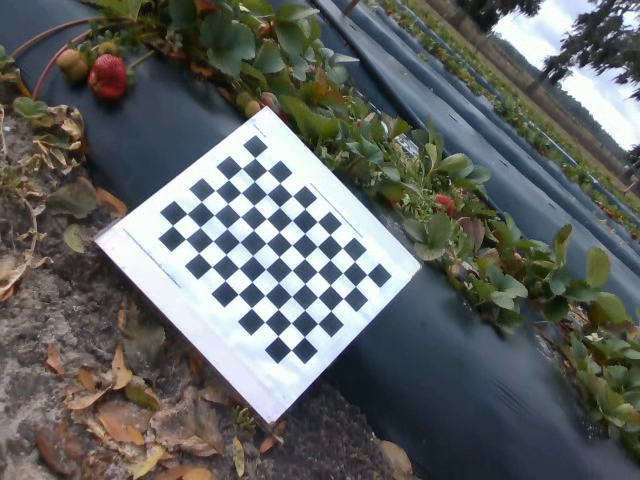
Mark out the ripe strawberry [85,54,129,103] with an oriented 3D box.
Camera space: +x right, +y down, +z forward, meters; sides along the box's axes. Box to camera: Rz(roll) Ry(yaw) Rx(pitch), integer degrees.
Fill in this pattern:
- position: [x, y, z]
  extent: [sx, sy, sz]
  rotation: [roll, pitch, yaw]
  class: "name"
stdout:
- position: [-0.287, -0.230, 0.787]
  extent: [0.066, 0.075, 0.053]
  rotation: [29, -21, -6]
  class: "ripe strawberry"
